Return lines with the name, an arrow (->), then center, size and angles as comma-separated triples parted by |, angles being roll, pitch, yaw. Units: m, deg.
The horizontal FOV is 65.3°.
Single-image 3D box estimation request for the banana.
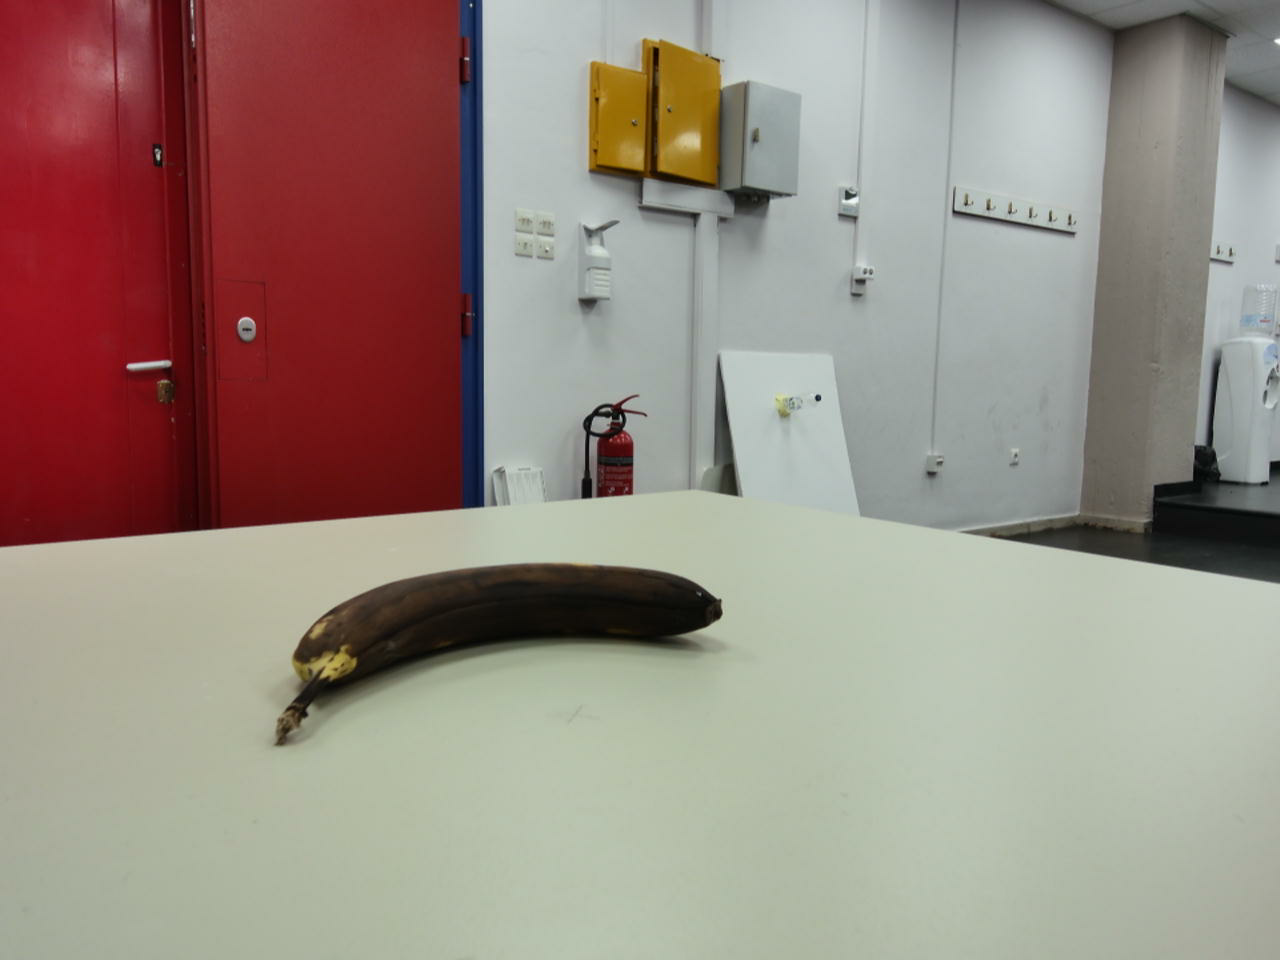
banana -> -0.062, 0.055, 0.398 | 0.188, 0.033, 0.091 | -3, 5, -37
